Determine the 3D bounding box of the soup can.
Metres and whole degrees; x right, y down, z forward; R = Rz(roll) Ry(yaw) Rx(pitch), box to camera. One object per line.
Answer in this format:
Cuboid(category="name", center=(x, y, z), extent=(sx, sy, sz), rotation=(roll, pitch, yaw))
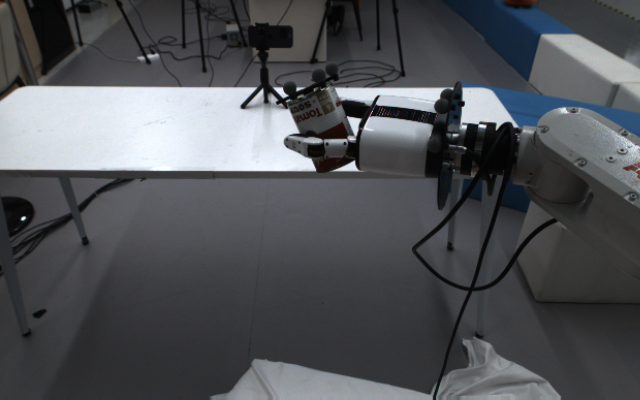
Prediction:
Cuboid(category="soup can", center=(0.007, -0.096, 0.646), extent=(0.067, 0.101, 0.067), rotation=(-23, 16, 7))
